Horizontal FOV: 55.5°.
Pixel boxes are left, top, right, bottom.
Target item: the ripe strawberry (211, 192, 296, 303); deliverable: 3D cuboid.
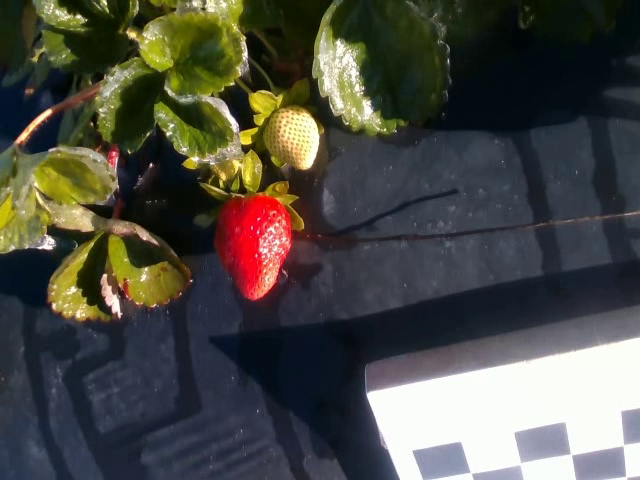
[{"bbox_3d":[-0.022,0.006,0.214,0.039,0.039,0.040,-18,-34,25],"label":"ripe strawberry"}]
